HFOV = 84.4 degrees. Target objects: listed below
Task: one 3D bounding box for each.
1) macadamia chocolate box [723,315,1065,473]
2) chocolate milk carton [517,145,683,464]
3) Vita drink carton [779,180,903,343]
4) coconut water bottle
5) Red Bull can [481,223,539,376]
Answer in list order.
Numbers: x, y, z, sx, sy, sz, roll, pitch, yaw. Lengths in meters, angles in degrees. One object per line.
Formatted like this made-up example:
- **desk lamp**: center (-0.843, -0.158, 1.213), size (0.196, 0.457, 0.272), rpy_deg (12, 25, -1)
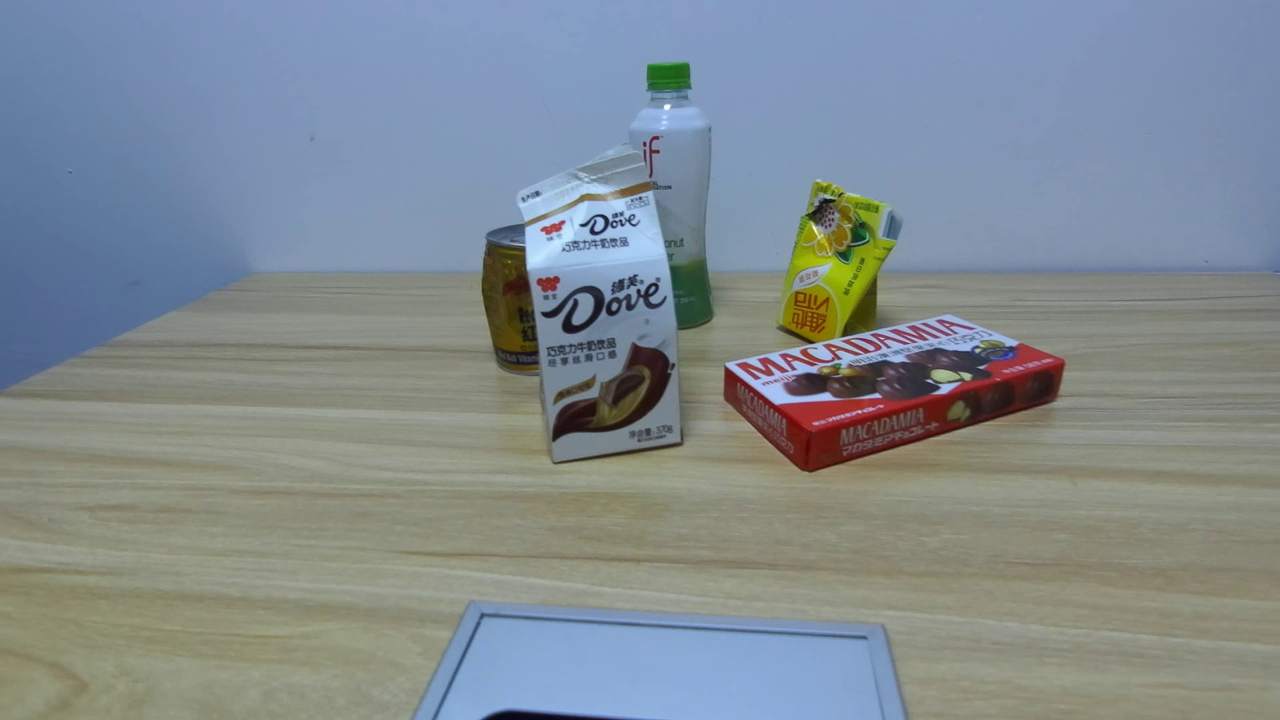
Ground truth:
- **macadamia chocolate box**: center (0.149, 0.013, 0.422), size (0.178, 0.027, 0.095), rpy_deg (-11, 25, -19)
- **chocolate milk carton**: center (-0.020, -0.033, 0.382), size (0.076, 0.155, 0.073), rpy_deg (-6, 23, -9)
- **Vita drink carton**: center (0.143, -0.066, 0.504), size (0.042, 0.108, 0.086), rpy_deg (0, 22, -35)
- **coconut water bottle**: center (0.024, -0.120, 0.530), size (0.063, 0.189, 0.063), rpy_deg (-2, 20, 1)
- **Red Bull can**: center (-0.080, -0.048, 0.529), size (0.072, 0.092, 0.072), rpy_deg (0, 24, 0)
